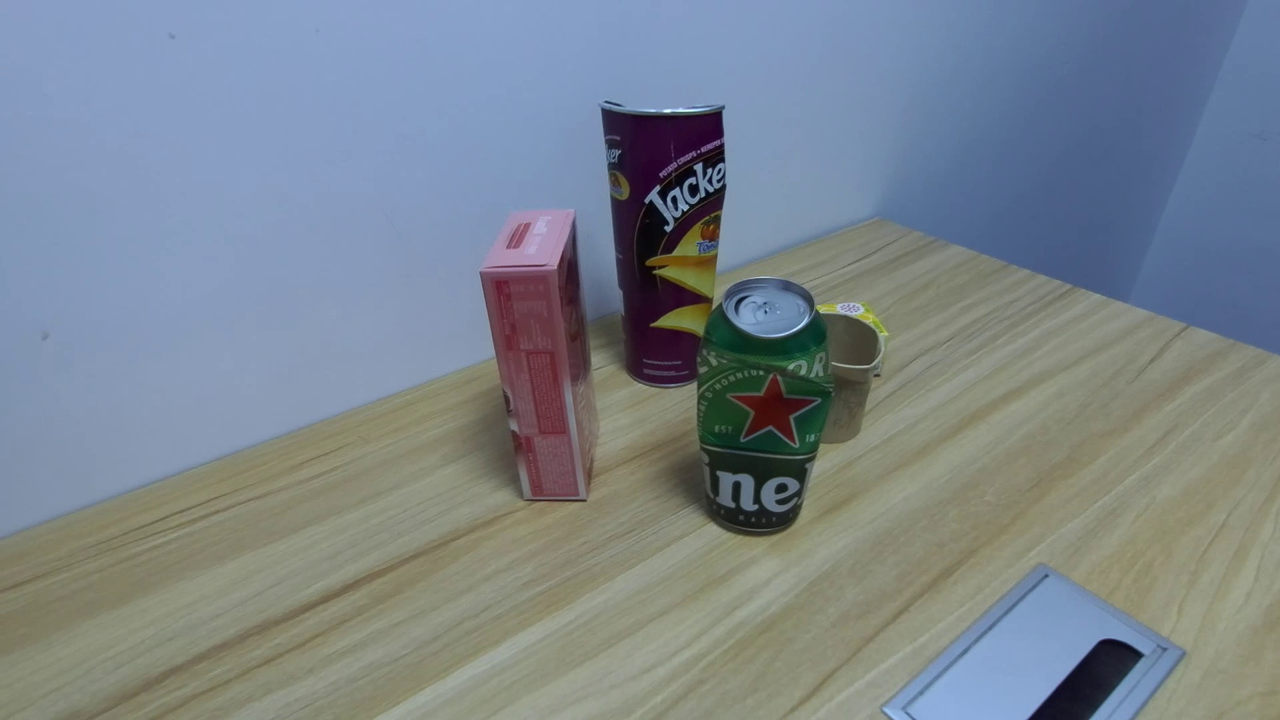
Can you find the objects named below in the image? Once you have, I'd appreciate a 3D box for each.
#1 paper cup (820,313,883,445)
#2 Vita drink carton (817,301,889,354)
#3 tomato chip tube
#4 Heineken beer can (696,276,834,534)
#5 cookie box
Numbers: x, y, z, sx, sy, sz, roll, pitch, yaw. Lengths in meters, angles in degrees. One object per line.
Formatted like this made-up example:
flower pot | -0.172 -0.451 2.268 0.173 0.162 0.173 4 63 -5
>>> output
paper cup | 0.153 0.017 0.553 0.066 0.084 0.072 13 36 25
Vita drink carton | 0.158 -0.018 0.641 0.109 0.043 0.066 -3 30 -4
tomato chip tube | 0.022 -0.094 0.594 0.076 0.235 0.077 -21 36 -27
Heineken beer can | 0.077 0.035 0.449 0.069 0.168 0.068 -25 41 -28
cookie box | -0.063 0.000 0.498 0.048 0.185 0.096 -2 32 4
